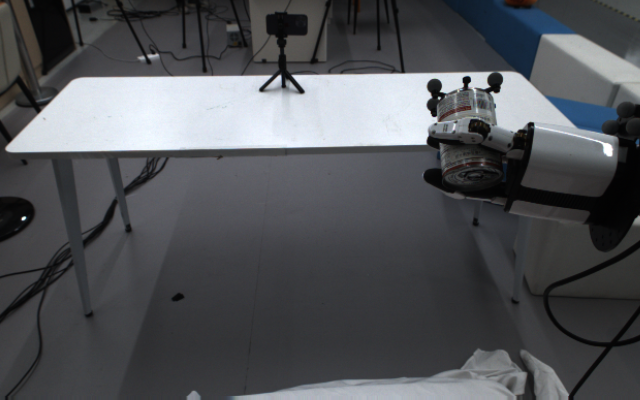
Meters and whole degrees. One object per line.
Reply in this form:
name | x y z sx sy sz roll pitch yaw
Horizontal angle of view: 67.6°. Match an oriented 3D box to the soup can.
soup can | 0.174 -0.070 0.561 0.067 0.067 0.101 2 68 0
